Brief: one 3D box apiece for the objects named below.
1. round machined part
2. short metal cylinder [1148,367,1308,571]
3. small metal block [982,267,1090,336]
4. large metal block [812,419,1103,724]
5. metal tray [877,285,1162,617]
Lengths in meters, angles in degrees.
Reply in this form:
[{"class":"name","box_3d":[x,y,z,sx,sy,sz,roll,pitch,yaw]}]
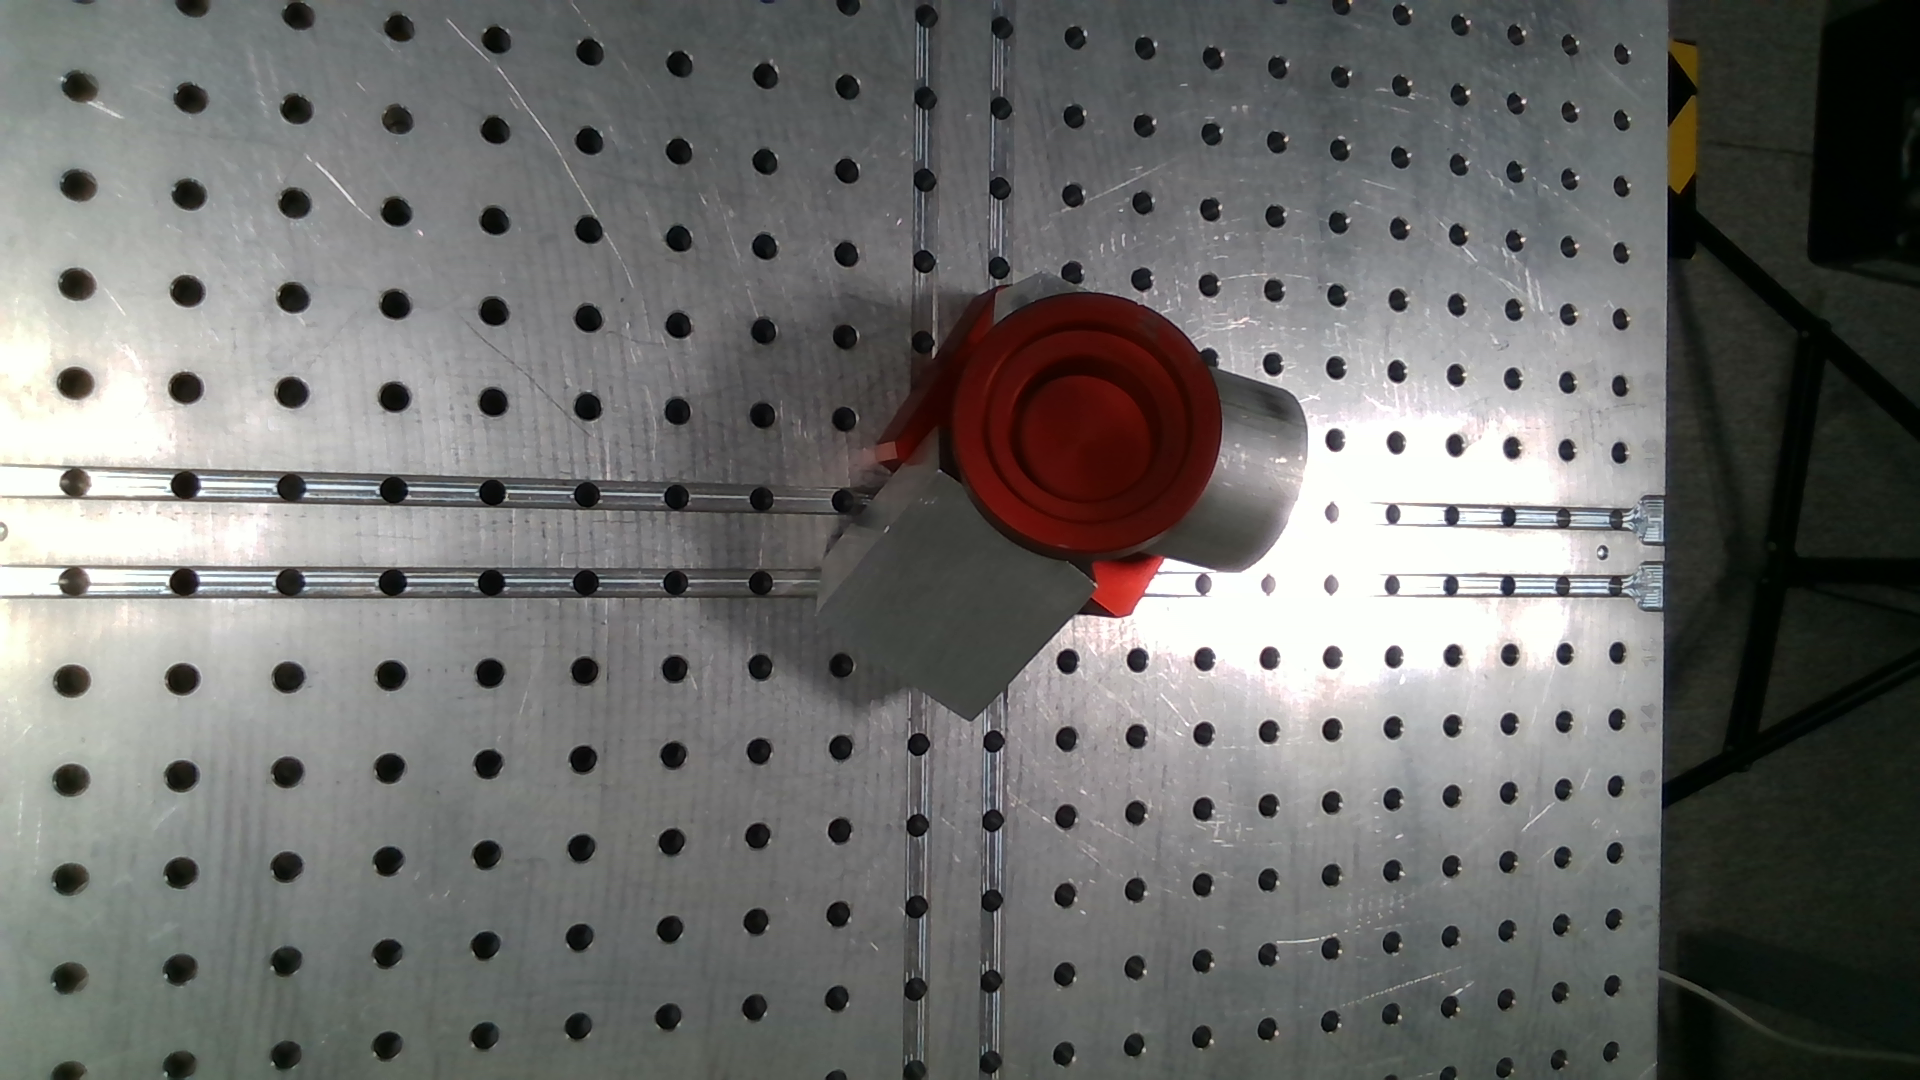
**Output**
[{"class":"round machined part","box_3d":[0.046,-0.040,0.517,0.098,0.042,0.098,0,79,0]},{"class":"short metal cylinder","box_3d":[0.097,-0.031,0.563,0.050,0.080,0.080,14,85,-20]},{"class":"small metal block","box_3d":[0.042,-0.085,0.557,0.050,0.050,0.025,20,83,-19]},{"class":"large metal block","box_3d":[-0.002,0.013,0.555,0.080,0.050,0.080,36,109,-17]},{"class":"metal tray","box_3d":[0.040,-0.037,0.601,0.130,0.030,0.090,36,78,-17]}]
